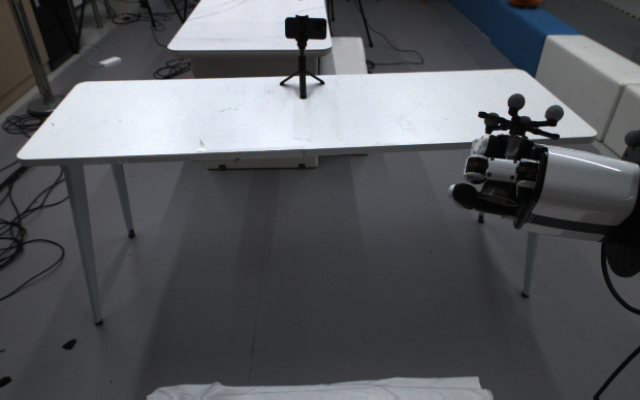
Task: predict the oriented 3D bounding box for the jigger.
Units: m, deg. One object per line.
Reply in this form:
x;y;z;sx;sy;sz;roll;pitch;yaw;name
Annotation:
0.200;-0.033;0.519;0.043;0.071;0.043;18;-6;2;jigger
